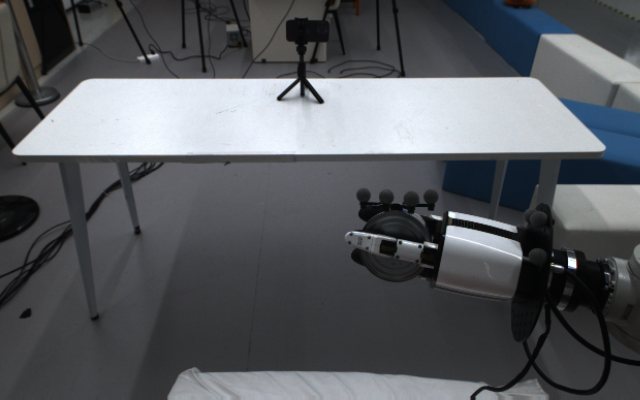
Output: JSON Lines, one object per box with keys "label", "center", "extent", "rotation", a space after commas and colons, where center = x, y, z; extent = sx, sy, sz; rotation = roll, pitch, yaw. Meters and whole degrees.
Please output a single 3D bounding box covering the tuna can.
{"label": "tuna can", "center": [0.093, 0.052, 0.582], "extent": [0.085, 0.085, 0.034], "rotation": [12, 8, 14]}
